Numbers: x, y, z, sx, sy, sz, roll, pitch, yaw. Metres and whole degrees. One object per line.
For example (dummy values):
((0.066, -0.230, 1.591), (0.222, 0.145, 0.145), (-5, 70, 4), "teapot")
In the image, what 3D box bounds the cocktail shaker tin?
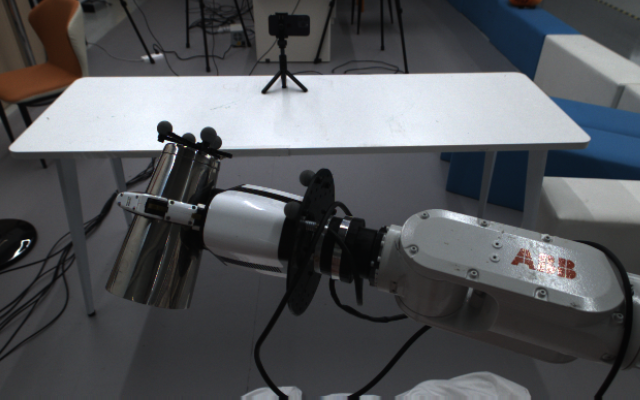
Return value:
((-0.169, 0.028, 0.547), (0.093, 0.170, 0.093), (15, -6, 2), "cocktail shaker tin")
